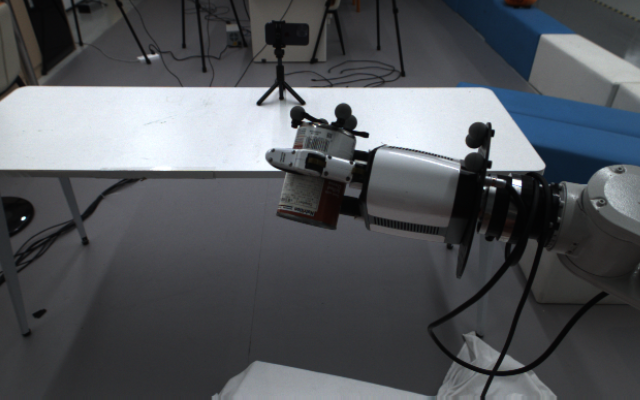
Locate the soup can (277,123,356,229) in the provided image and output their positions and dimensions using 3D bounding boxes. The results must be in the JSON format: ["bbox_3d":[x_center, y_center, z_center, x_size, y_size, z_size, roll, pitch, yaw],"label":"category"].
[{"bbox_3d":[-0.002,-0.025,0.523,0.067,0.101,0.067,13,-6,1],"label":"soup can"}]
